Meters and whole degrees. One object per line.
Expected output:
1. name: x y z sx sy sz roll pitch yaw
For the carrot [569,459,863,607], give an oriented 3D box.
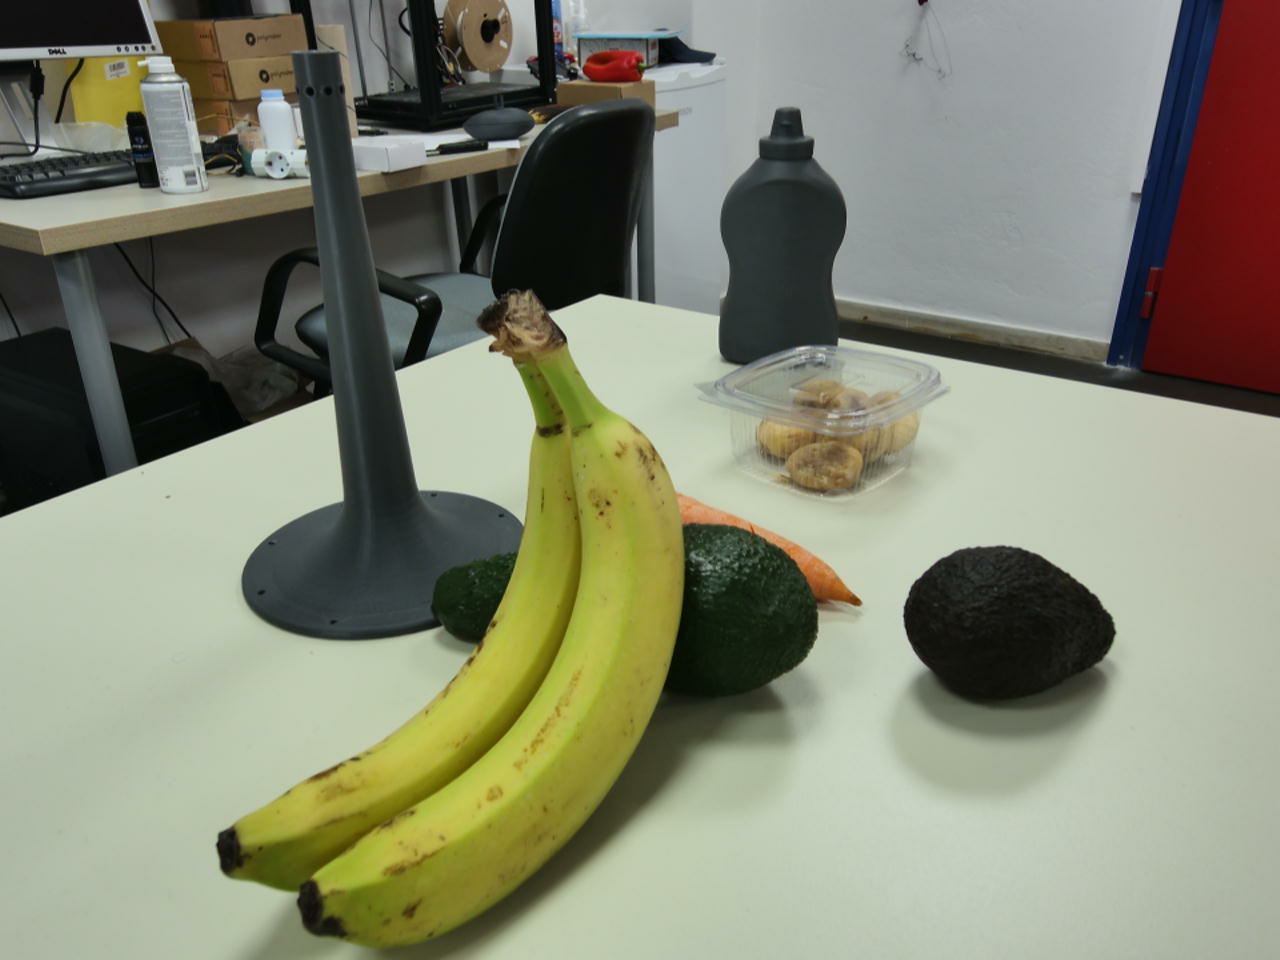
1. carrot: 0.040 0.027 0.572 0.196 0.041 0.039 18 30 33
